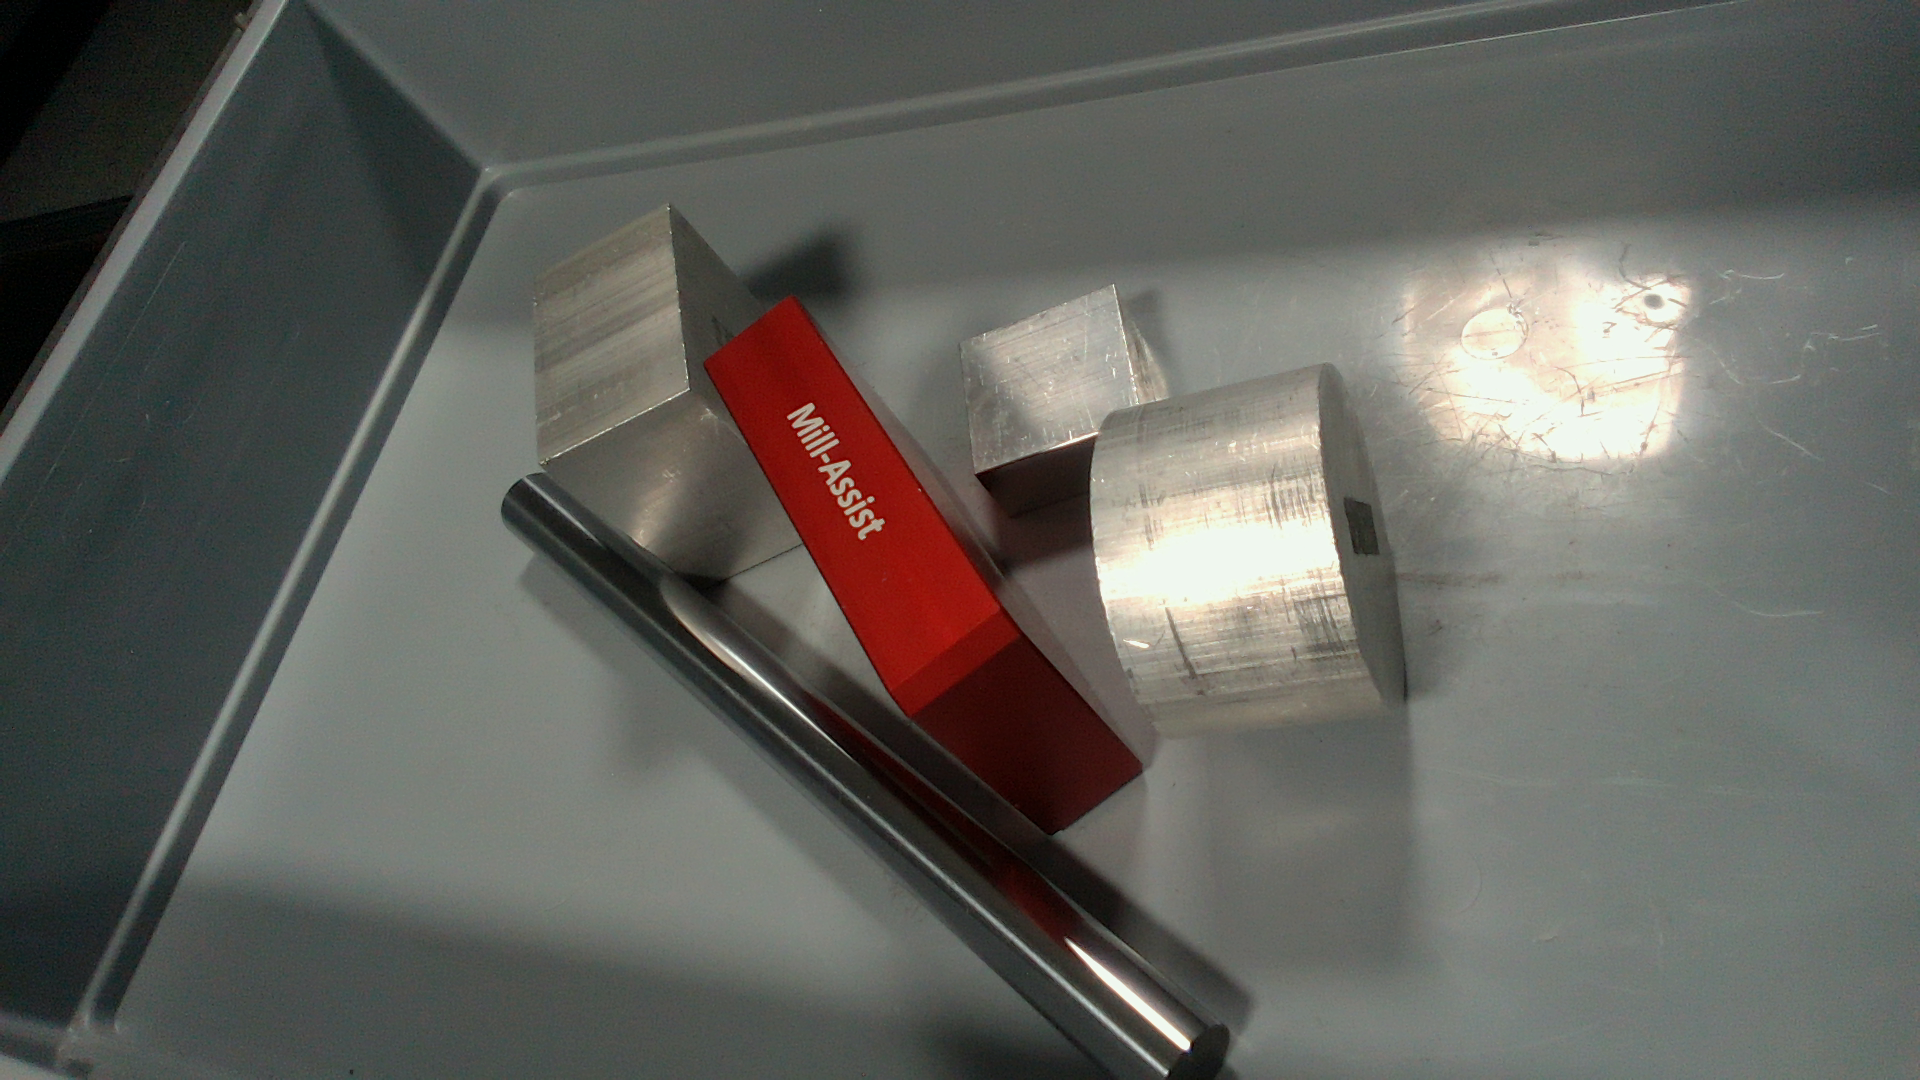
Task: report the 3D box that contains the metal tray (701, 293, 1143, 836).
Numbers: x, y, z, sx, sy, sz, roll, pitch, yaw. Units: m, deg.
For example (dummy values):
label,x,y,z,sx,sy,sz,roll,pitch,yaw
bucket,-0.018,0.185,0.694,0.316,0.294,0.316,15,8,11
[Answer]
label,x,y,z,sx,sy,sz,roll,pitch,yaw
metal tray,-0.011,0.005,0.352,0.030,0.090,0.130,-37,51,3

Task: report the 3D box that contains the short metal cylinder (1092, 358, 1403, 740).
label,x,y,z,sx,sy,sz,roll,pitch,yaw
short metal cylinder,0.068,0.003,0.318,0.050,0.080,0.080,-12,57,23

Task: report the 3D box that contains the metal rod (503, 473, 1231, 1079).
label,x,y,z,sx,sy,sz,roll,pitch,yaw
metal rod,-0.049,0.051,0.388,0.299,0.025,0.025,33,80,38

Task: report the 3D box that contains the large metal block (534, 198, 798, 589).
label,x,y,z,sx,sy,sz,roll,pitch,yaw
large metal block,-0.086,-0.043,0.430,0.050,0.080,0.080,-24,53,14

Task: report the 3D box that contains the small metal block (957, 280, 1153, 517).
label,x,y,z,sx,sy,sz,roll,pitch,yaw
small metal block,0.029,-0.041,0.401,0.050,0.025,0.050,-19,54,18
